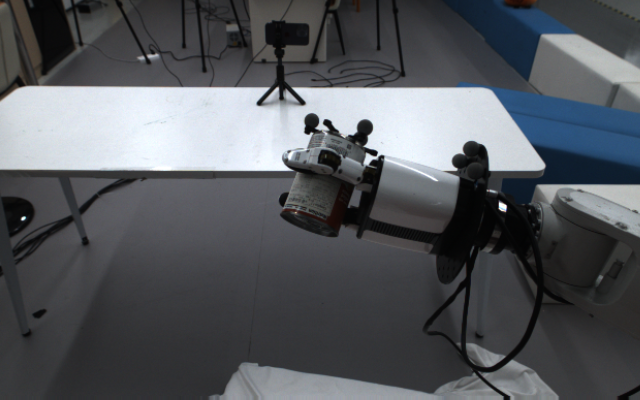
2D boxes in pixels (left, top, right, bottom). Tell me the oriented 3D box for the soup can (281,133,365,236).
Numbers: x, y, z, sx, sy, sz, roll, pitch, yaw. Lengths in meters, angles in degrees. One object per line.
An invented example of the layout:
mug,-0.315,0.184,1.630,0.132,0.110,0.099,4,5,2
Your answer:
soup can,0.007,-0.018,0.542,0.067,0.067,0.101,15,75,18
